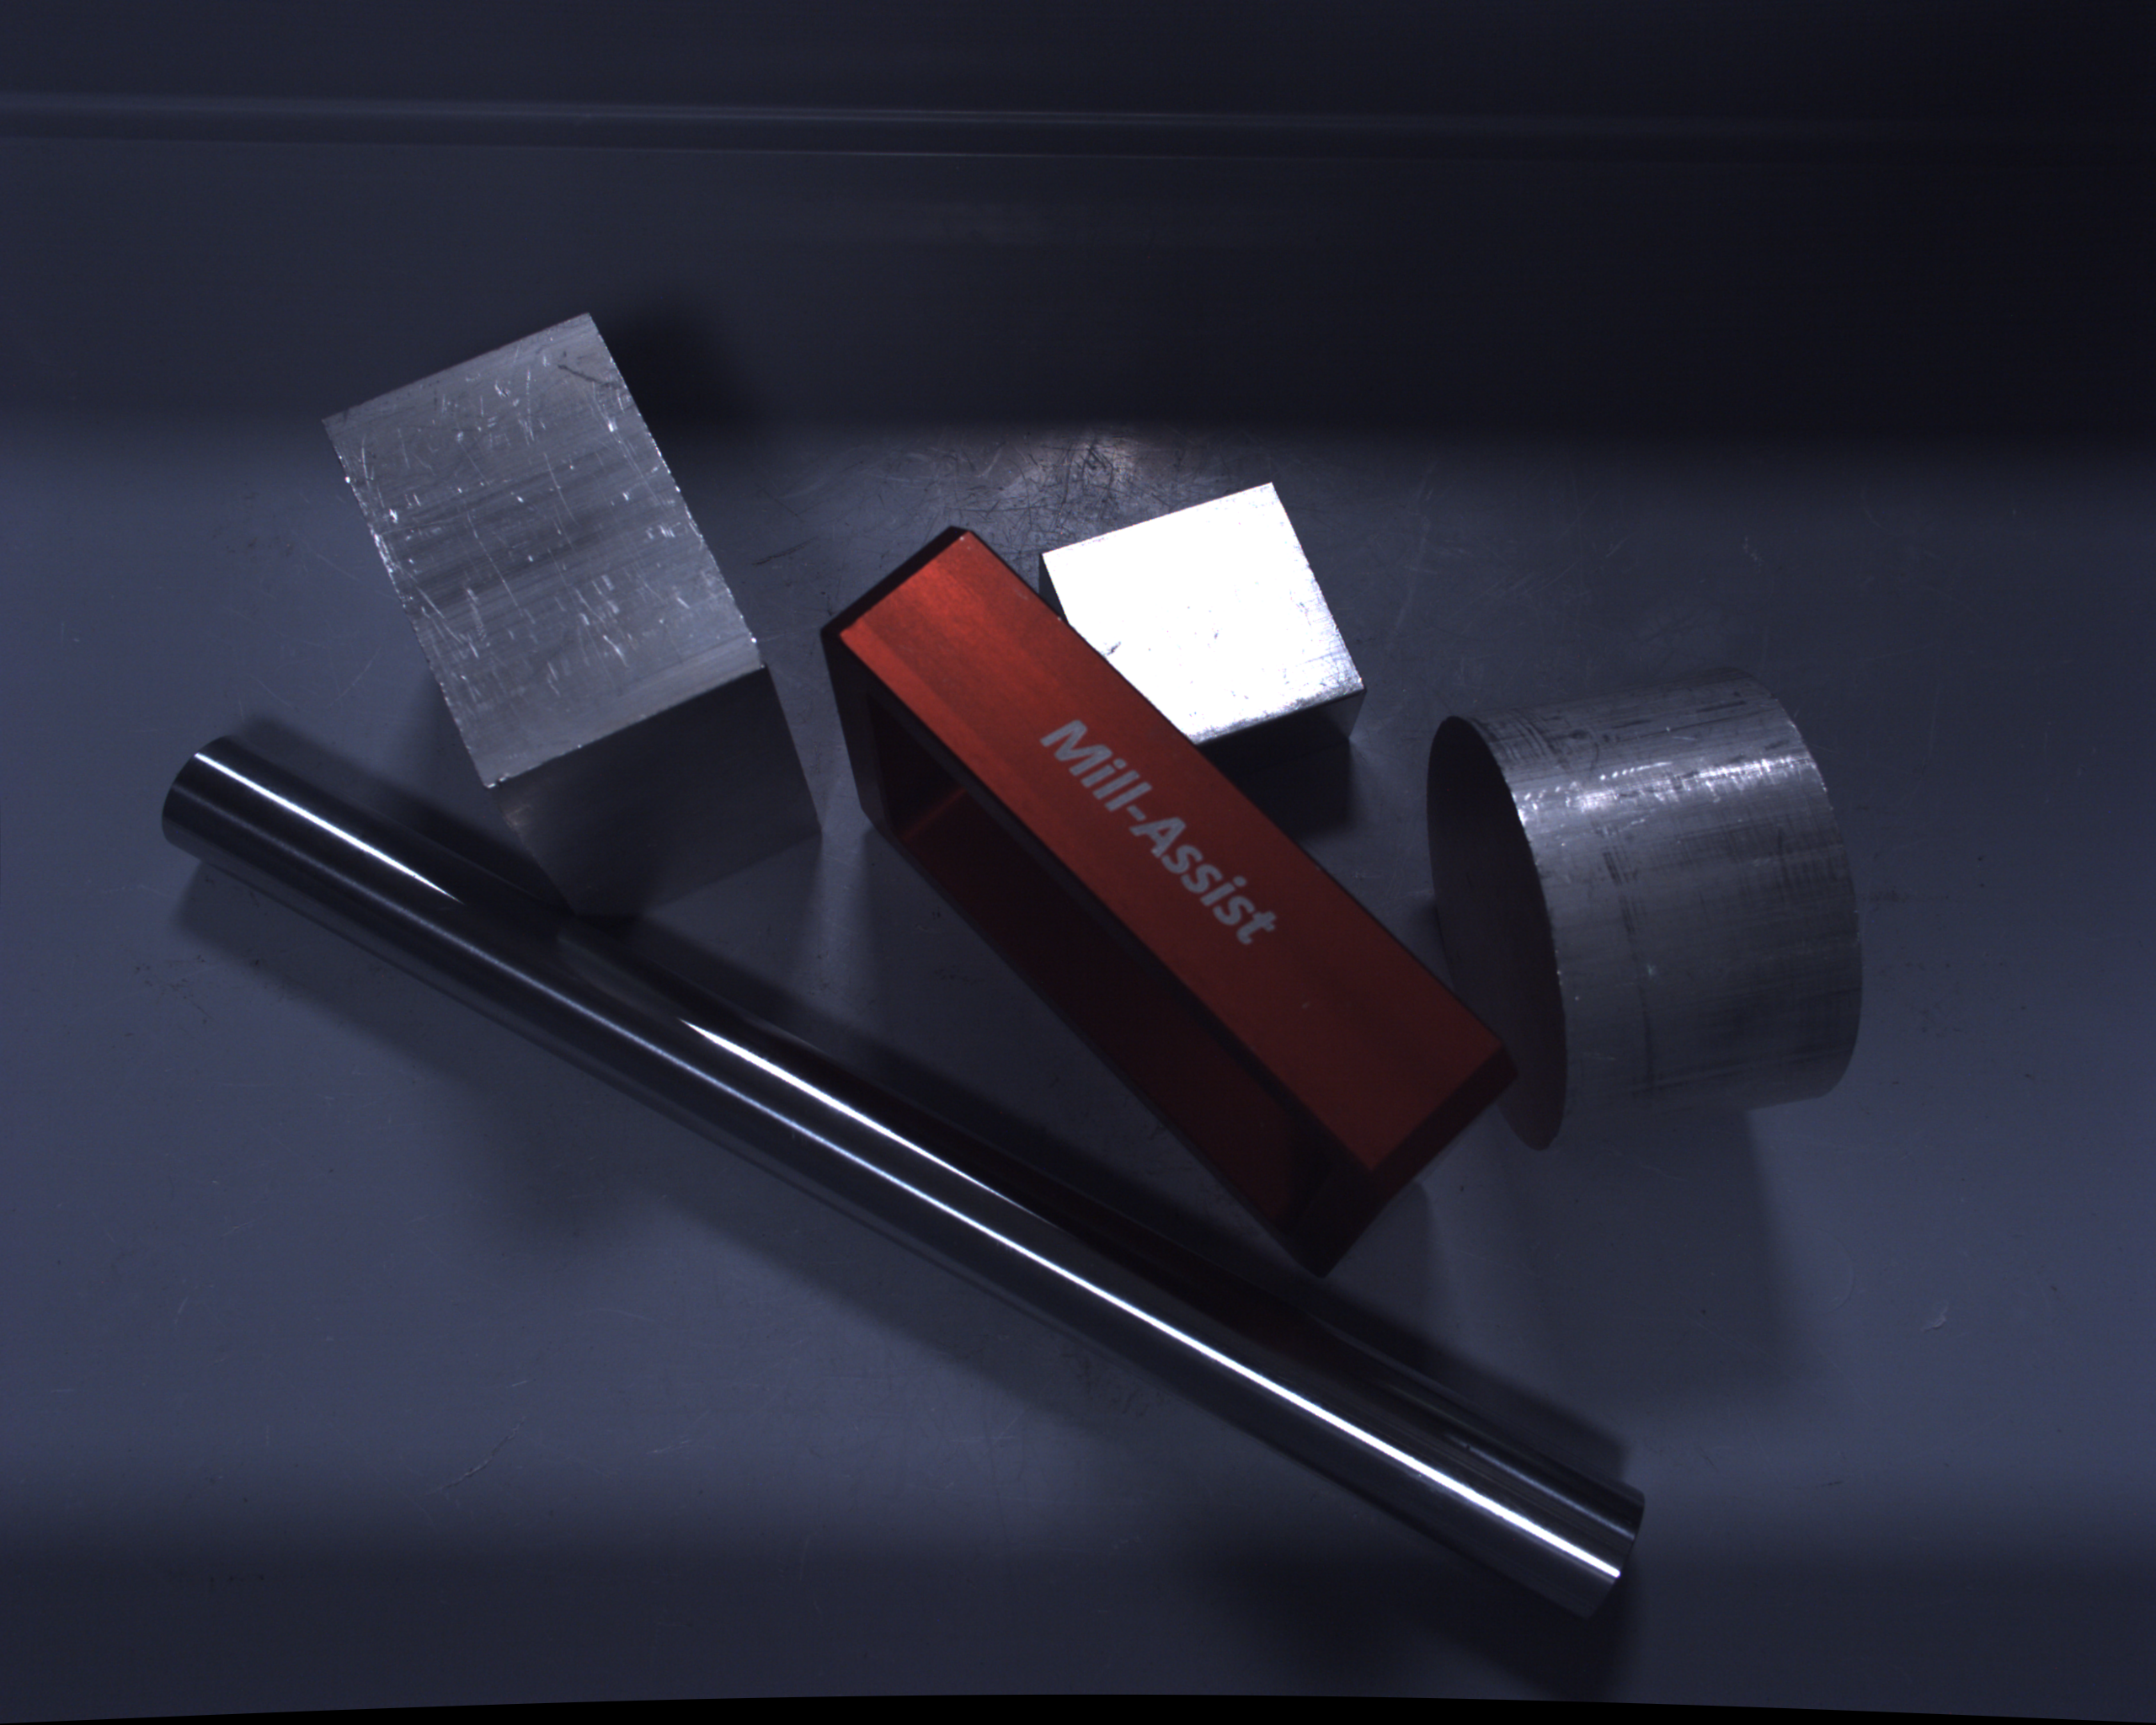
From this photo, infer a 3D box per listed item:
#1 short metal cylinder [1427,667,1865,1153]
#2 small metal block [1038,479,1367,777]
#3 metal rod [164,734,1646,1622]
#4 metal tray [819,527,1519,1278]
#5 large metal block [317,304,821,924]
[{"bbox_3d":[0.099,0.008,0.377,0.050,0.080,0.080,-11,71,-3],"label":"short metal cylinder"},{"bbox_3d":[0.024,-0.044,0.423,0.050,0.025,0.050,-19,71,-7],"label":"small metal block"},{"bbox_3d":[-0.039,0.054,0.388,0.301,0.025,0.025,27,72,9],"label":"metal rod"},{"bbox_3d":[0.012,0.010,0.369,0.030,0.090,0.130,-42,76,-14],"label":"metal tray"},{"bbox_3d":[-0.092,-0.042,0.393,0.050,0.080,0.080,-25,72,-9],"label":"large metal block"}]
